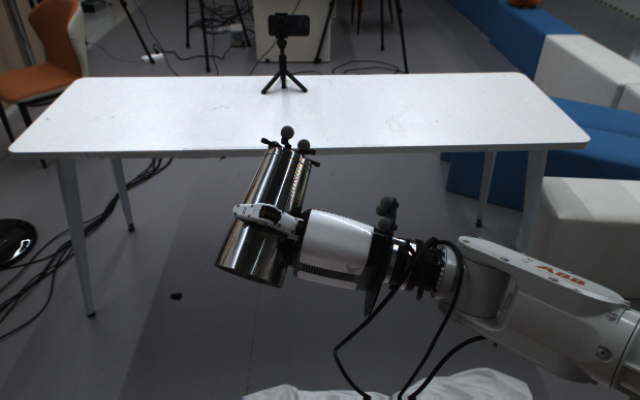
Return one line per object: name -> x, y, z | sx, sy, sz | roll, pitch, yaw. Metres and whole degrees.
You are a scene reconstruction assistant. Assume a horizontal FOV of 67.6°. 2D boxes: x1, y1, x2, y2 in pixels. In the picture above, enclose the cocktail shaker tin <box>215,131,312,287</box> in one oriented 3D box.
cocktail shaker tin -> -0.068, 0.021, 0.639 | 0.093, 0.093, 0.170 | 14, 74, 17
